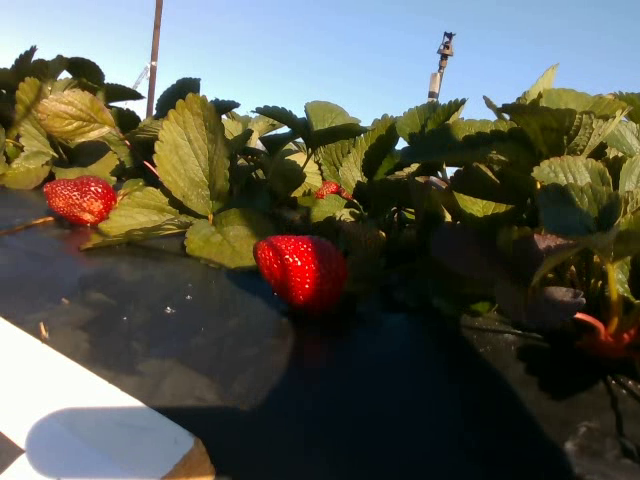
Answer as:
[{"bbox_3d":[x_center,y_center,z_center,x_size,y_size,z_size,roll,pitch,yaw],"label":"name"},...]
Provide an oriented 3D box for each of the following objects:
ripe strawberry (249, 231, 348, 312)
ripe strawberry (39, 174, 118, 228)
[{"bbox_3d":[-0.013,0.013,0.277,0.050,0.043,0.043,28,18,-32],"label":"ripe strawberry"},{"bbox_3d":[-0.166,-0.028,0.411,0.041,0.043,0.053,28,6,42],"label":"ripe strawberry"}]
